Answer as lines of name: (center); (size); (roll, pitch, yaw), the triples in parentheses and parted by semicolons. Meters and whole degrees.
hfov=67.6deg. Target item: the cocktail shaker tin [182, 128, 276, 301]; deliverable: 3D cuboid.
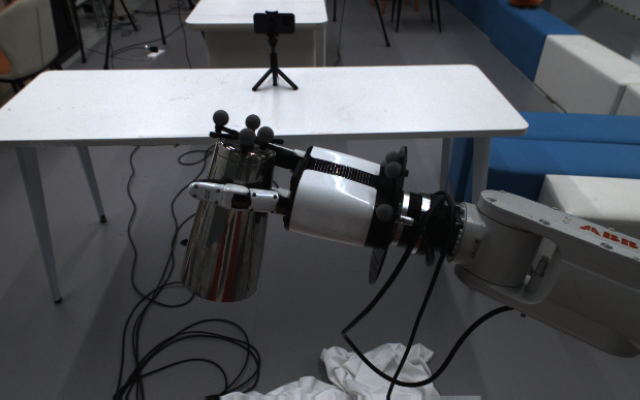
cocktail shaker tin: (-0.098, 0.017, 0.554); (0.093, 0.170, 0.093); (14, 19, -5)
